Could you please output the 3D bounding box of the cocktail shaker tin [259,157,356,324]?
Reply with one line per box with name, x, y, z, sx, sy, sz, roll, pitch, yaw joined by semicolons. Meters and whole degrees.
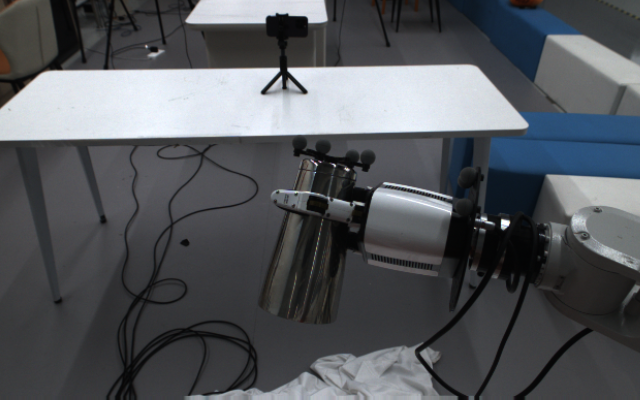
cocktail shaker tin;-0.004;0.042;0.554;0.093;0.170;0.093;13;1;0
